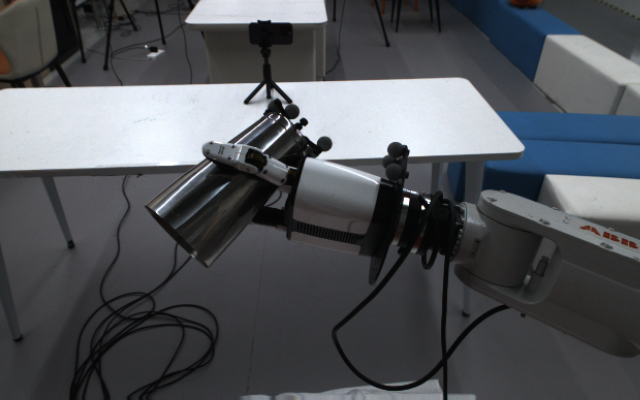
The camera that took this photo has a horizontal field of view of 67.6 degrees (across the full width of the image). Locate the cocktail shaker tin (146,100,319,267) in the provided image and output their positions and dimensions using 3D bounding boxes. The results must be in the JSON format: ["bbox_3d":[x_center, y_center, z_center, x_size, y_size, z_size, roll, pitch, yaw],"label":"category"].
[{"bbox_3d":[-0.092,-0.023,0.529,0.093,0.093,0.170,32,65,35],"label":"cocktail shaker tin"}]
